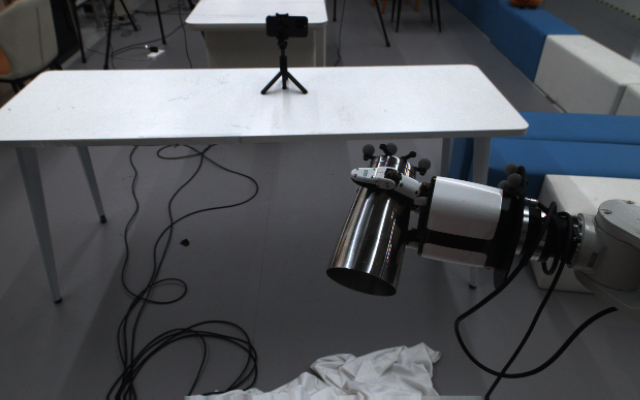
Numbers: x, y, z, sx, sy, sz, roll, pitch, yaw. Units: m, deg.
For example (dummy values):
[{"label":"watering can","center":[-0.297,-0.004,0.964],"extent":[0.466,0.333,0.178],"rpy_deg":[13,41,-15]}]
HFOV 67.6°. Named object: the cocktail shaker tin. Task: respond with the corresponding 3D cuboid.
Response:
[{"label":"cocktail shaker tin","center":[0.079,0.026,0.635],"extent":[0.093,0.093,0.170],"rpy_deg":[12,65,14]}]
